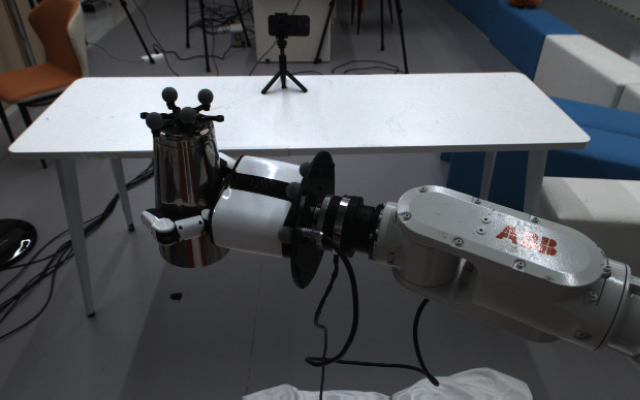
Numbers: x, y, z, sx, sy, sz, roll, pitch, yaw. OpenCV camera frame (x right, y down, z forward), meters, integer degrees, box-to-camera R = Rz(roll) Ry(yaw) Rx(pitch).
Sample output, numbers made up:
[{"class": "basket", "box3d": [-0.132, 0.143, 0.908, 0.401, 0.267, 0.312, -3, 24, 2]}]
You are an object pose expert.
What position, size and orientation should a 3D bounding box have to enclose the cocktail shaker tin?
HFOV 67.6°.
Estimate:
[{"class": "cocktail shaker tin", "box3d": [-0.153, -0.013, 0.578, 0.093, 0.170, 0.093, 3, 34, -2]}]
